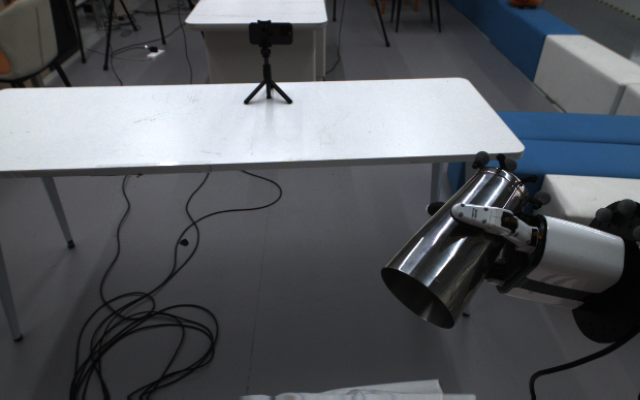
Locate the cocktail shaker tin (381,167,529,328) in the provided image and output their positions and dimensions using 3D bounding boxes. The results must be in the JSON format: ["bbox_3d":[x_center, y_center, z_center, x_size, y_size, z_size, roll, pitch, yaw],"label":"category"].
[{"bbox_3d":[0.156,0.040,0.529,0.093,0.093,0.170,32,67,35],"label":"cocktail shaker tin"}]
